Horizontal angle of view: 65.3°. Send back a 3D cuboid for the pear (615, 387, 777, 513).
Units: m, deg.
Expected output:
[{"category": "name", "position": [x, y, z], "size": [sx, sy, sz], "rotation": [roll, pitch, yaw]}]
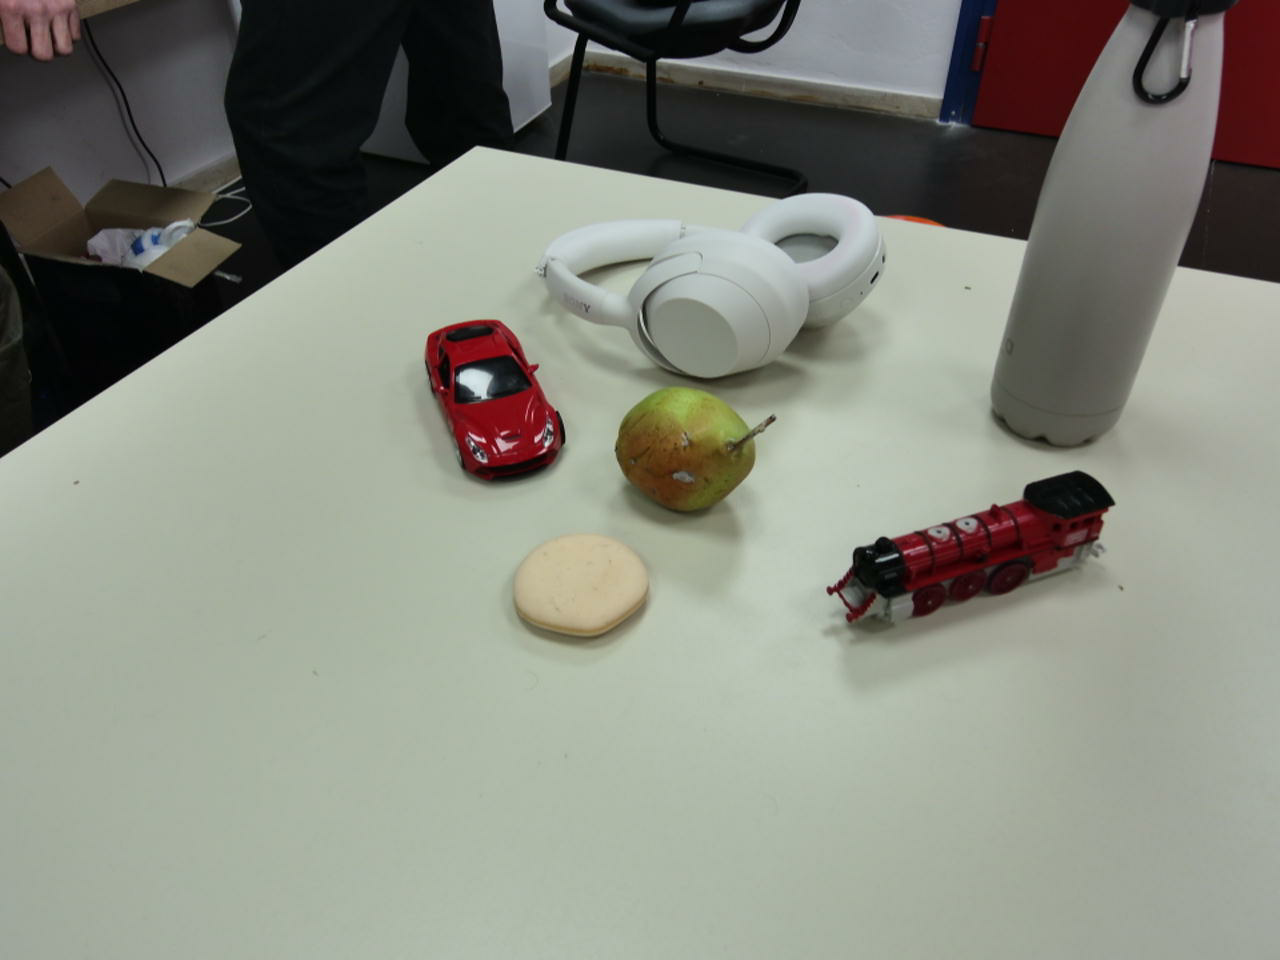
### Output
[{"category": "pear", "position": [0.023, -0.018, 0.510], "size": [0.068, 0.069, 0.070], "rotation": [-8, 39, -10]}]
